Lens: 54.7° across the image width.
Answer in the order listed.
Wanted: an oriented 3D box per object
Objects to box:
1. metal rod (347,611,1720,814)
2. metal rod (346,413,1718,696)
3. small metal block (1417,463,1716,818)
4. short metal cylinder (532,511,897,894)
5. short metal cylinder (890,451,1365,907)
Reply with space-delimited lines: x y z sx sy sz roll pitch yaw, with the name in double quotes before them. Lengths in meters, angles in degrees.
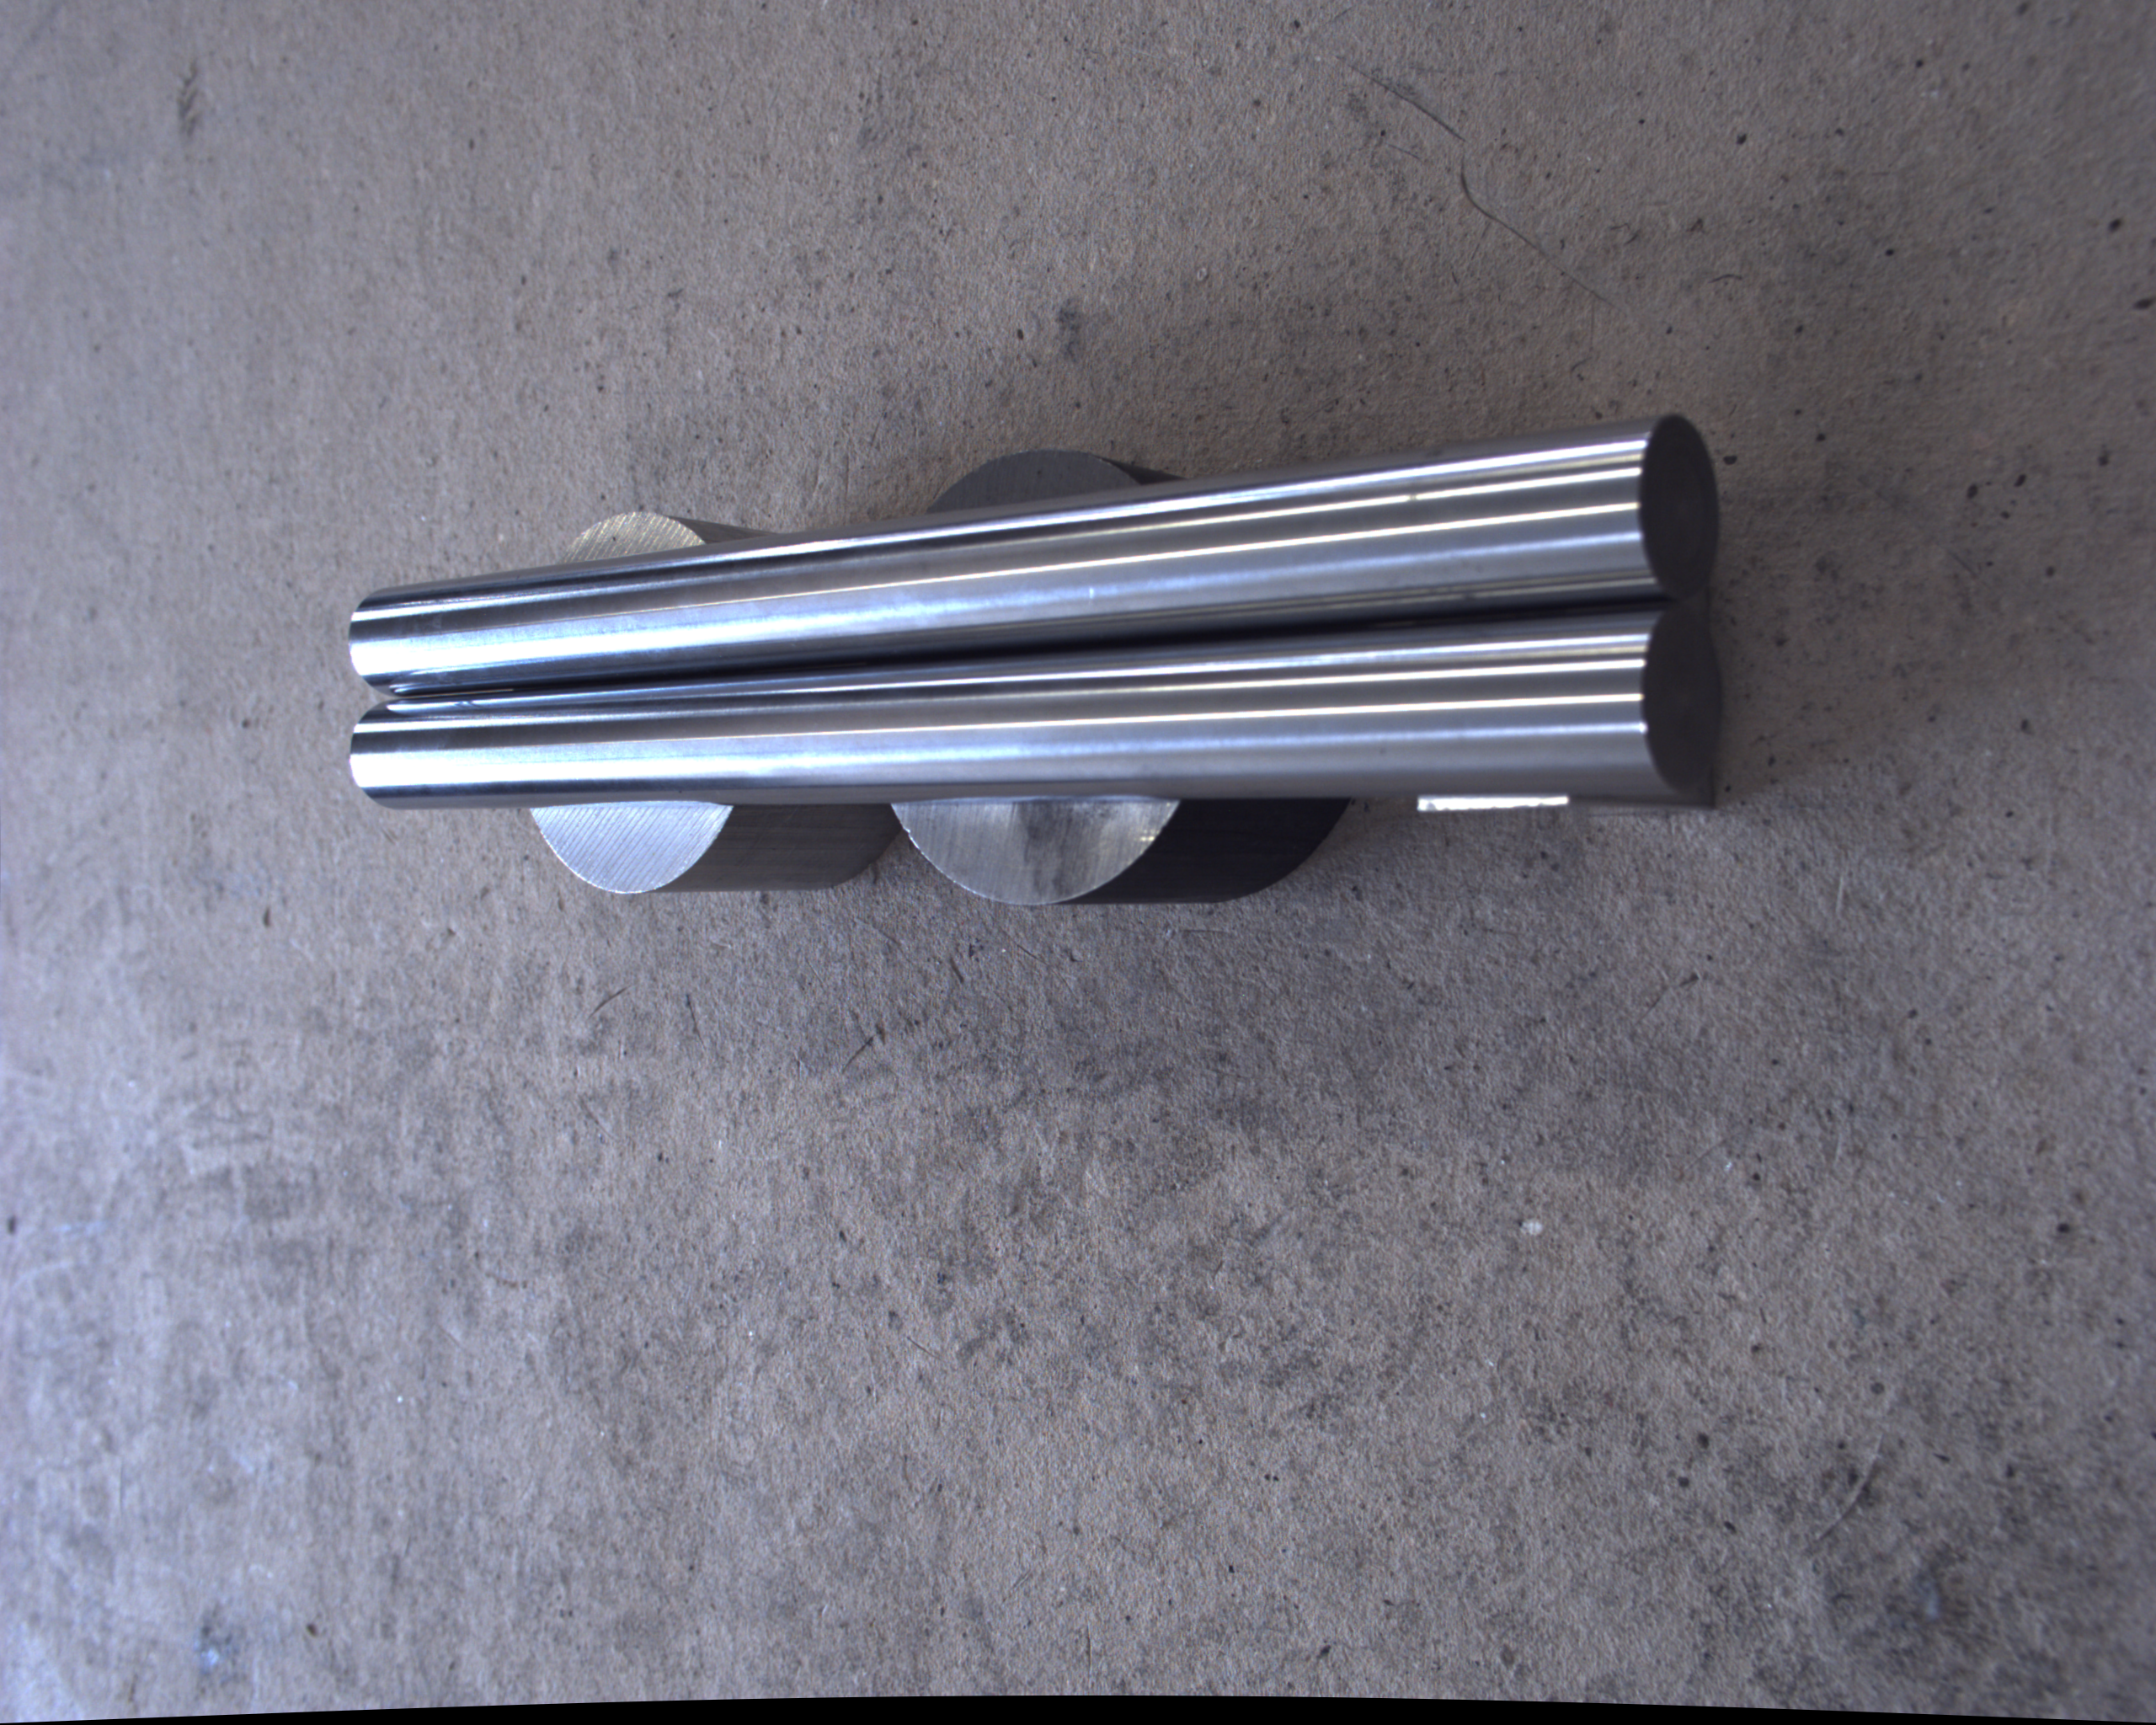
"metal rod" -0.036 -0.022 0.370 0.300 0.025 0.025 1 91 40
"metal rod" -0.036 -0.048 0.370 0.300 0.025 0.025 1 91 40
"small metal block" 0.077 -0.033 0.328 0.025 0.050 0.050 -2 88 40
"short metal cylinder" -0.078 -0.033 0.454 0.080 0.050 0.080 0 90 40
"short metal cylinder" 0.007 -0.032 0.385 0.080 0.050 0.080 0 90 40
